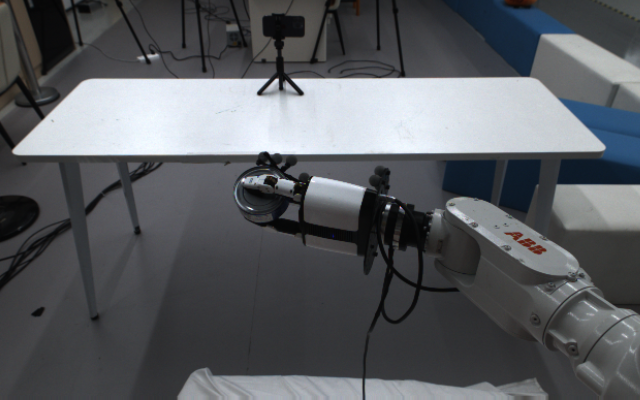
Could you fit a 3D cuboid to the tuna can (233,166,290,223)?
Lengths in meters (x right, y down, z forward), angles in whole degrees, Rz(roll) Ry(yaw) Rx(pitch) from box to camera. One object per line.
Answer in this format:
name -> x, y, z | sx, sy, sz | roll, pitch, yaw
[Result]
tuna can -> -0.090, -0.008, 0.749 | 0.085, 0.034, 0.085 | -2, 60, 3
